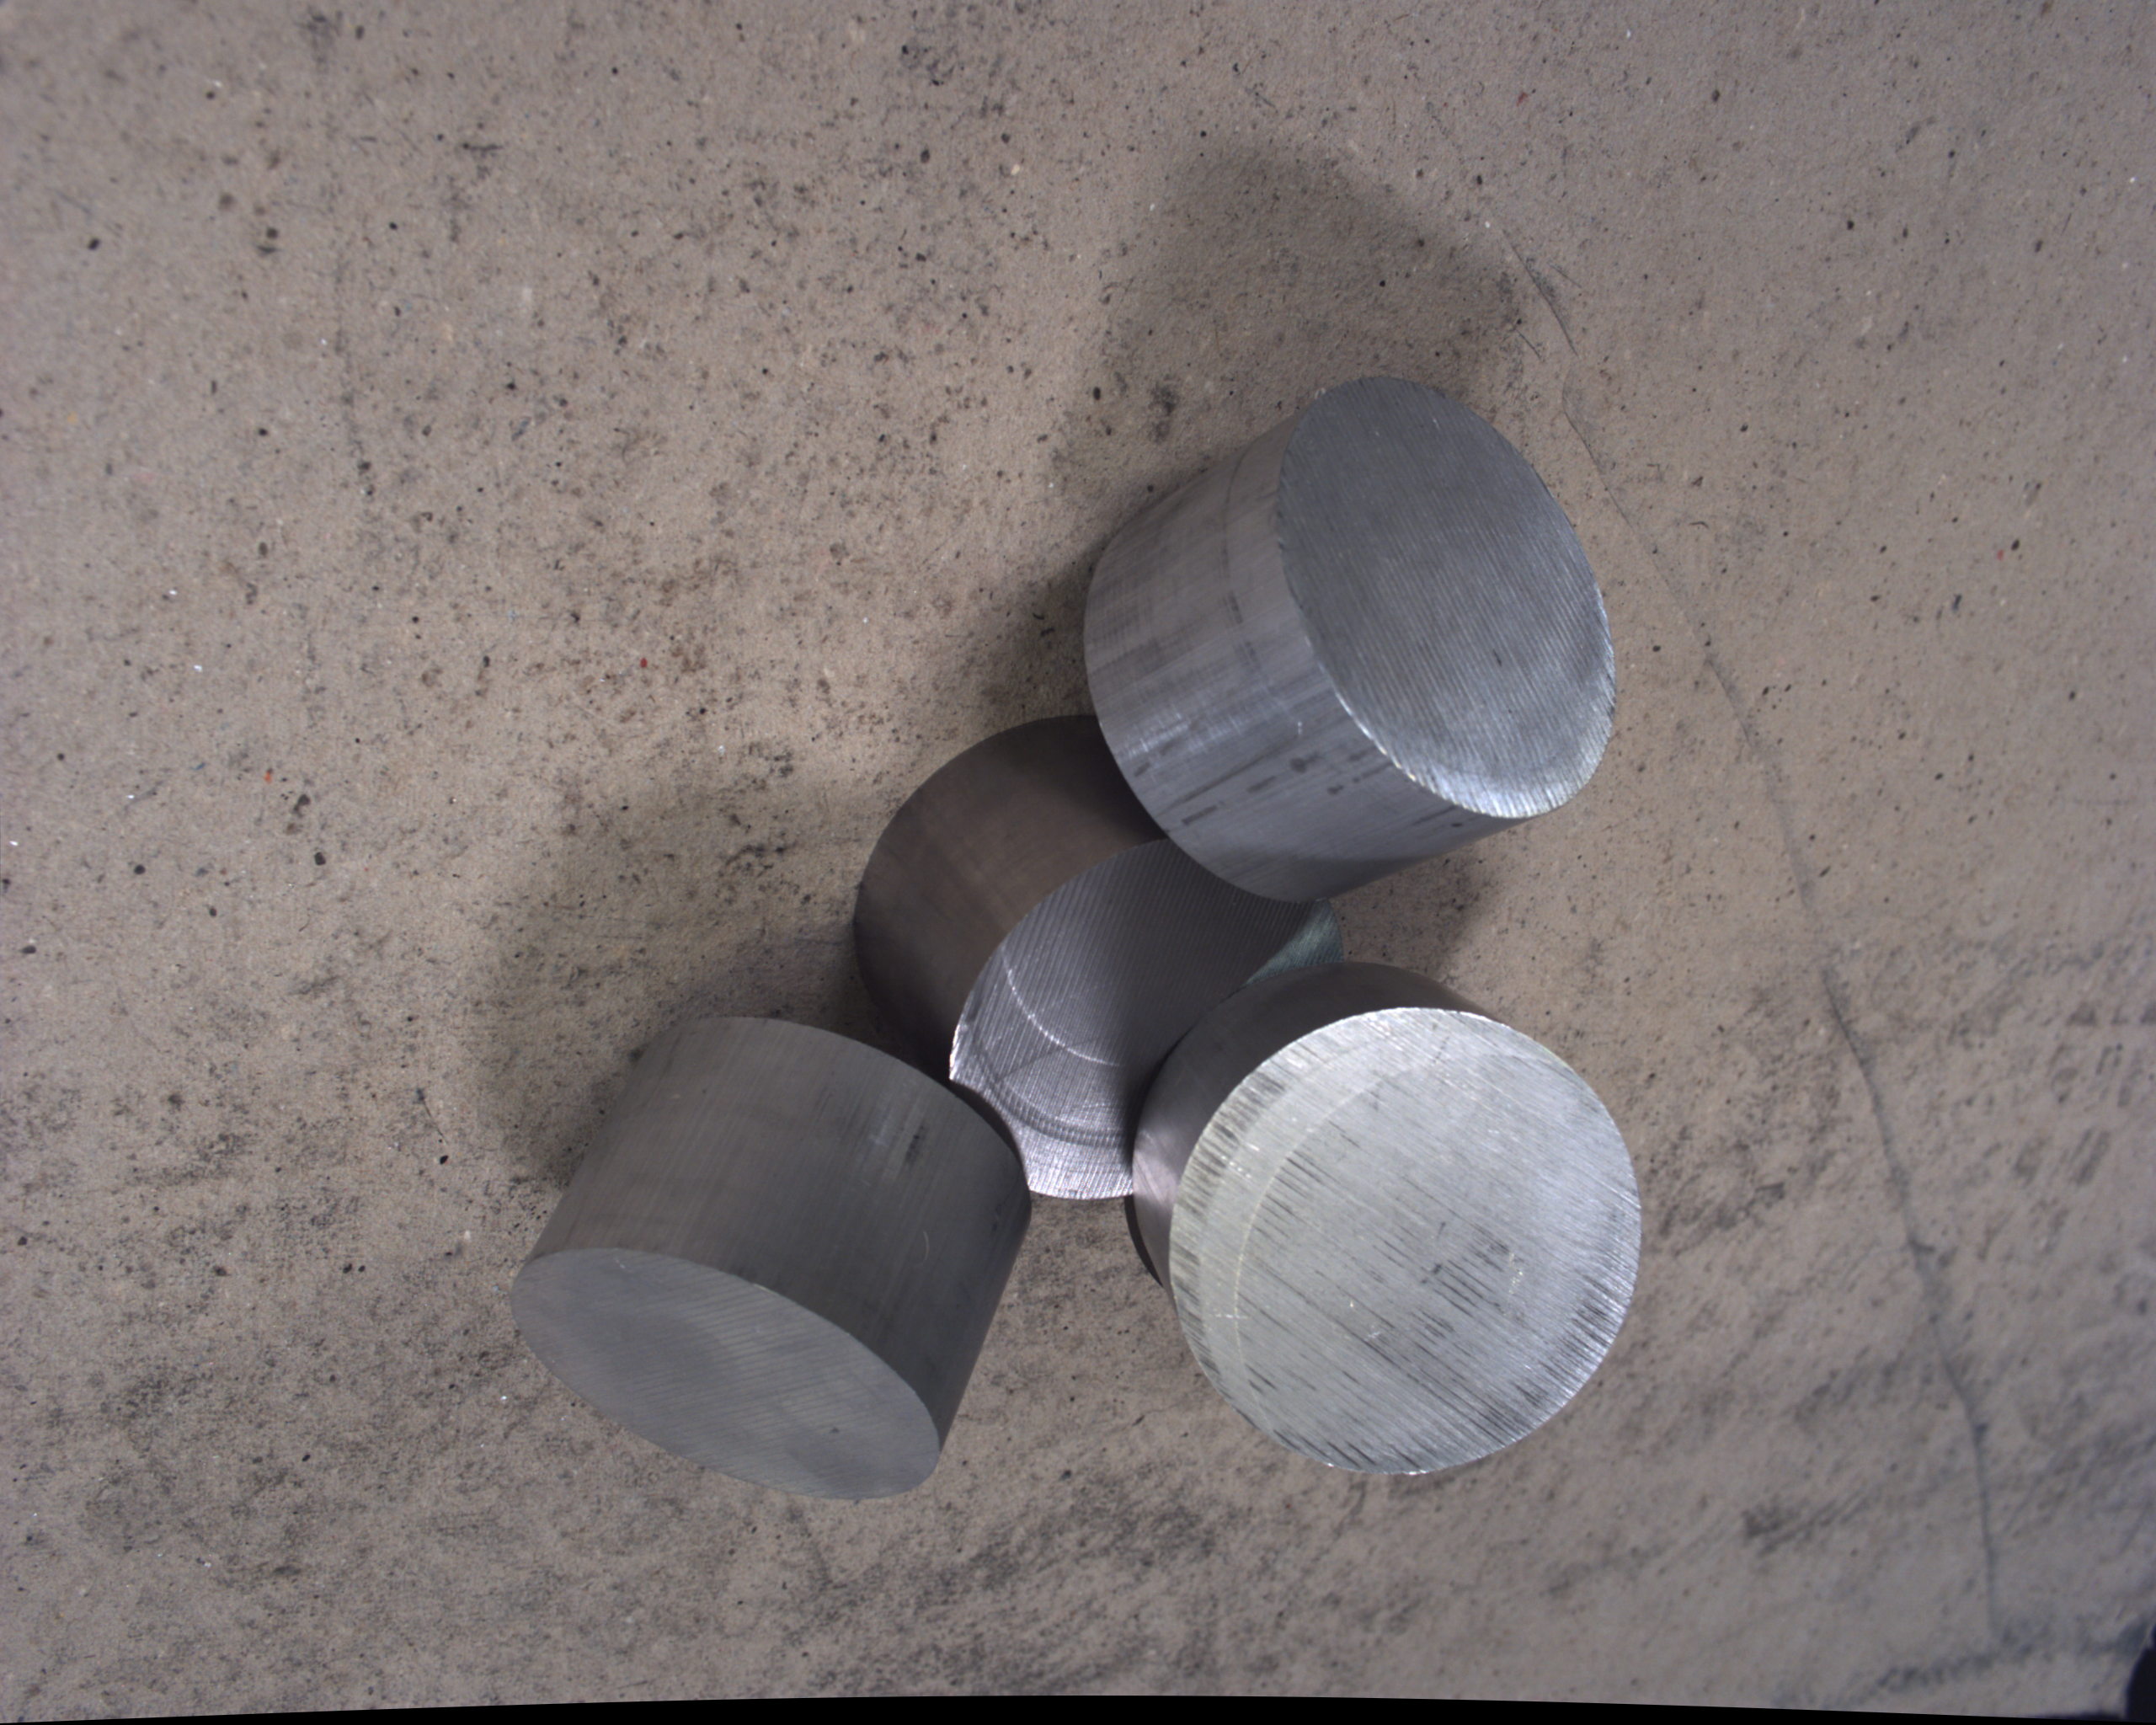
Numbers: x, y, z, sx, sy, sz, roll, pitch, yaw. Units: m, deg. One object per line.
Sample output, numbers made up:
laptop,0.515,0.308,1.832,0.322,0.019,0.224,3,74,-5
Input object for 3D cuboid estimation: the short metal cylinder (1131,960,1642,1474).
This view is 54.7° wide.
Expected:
short metal cylinder,0.052,0.061,0.372,0.081,0.050,0.079,-1,96,-6

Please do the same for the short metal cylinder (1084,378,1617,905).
short metal cylinder,0.048,-0.038,0.368,0.081,0.080,0.050,14,154,-34

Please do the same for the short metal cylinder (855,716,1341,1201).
short metal cylinder,0.003,0.018,0.405,0.081,0.050,0.079,-14,124,-21

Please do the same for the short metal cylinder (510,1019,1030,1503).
short metal cylinder,-0.055,0.074,0.381,0.080,0.050,0.080,12,139,11

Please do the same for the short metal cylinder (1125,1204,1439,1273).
short metal cylinder,0.057,0.069,0.446,0.080,0.080,0.050,-46,129,4
